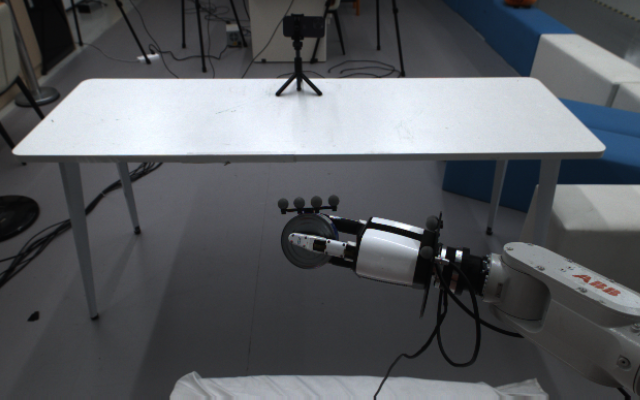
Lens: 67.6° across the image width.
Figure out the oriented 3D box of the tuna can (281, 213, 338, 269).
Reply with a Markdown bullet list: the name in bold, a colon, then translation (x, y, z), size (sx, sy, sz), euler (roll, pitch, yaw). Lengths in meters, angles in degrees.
- **tuna can**: translation (-0.013, 0.066, 0.739), size (0.085, 0.085, 0.034), euler (10, 3, 11)
